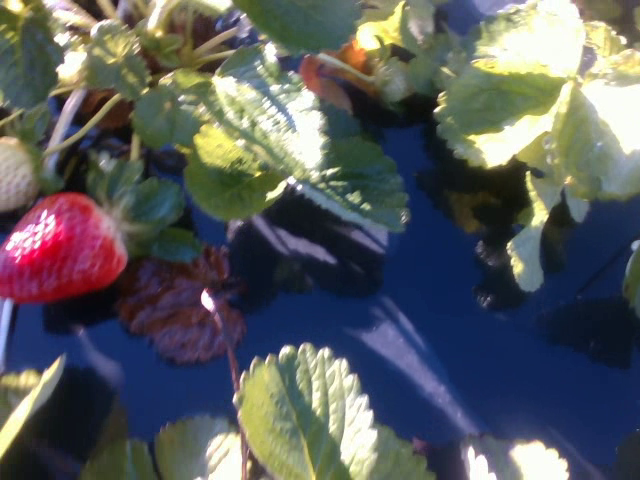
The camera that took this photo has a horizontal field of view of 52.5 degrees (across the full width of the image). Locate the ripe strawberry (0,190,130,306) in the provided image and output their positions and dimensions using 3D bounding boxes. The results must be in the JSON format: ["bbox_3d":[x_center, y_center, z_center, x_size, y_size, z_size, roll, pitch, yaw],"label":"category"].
[{"bbox_3d":[-0.119,0.006,0.291,0.080,0.063,0.040,-36,11,-35],"label":"ripe strawberry"}]
